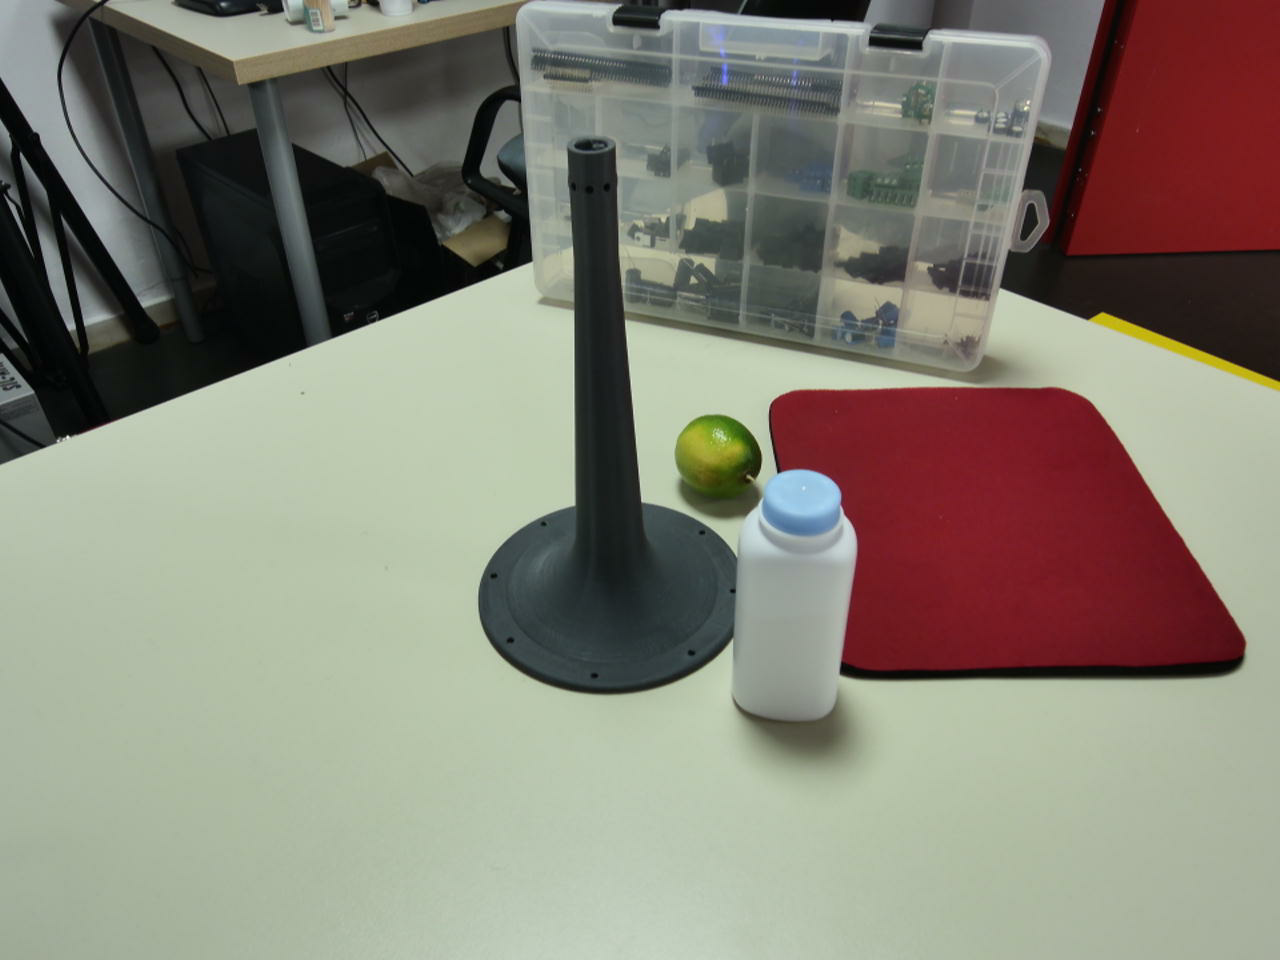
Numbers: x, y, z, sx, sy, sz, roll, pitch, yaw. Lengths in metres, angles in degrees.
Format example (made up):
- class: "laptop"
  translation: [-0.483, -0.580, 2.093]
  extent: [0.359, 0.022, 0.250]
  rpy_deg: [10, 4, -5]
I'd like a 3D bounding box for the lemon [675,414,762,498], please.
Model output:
- class: "lemon"
  translation: [0.048, -0.015, 0.623]
  extent: [0.054, 0.050, 0.055]
  rpy_deg: [6, 37, 7]
